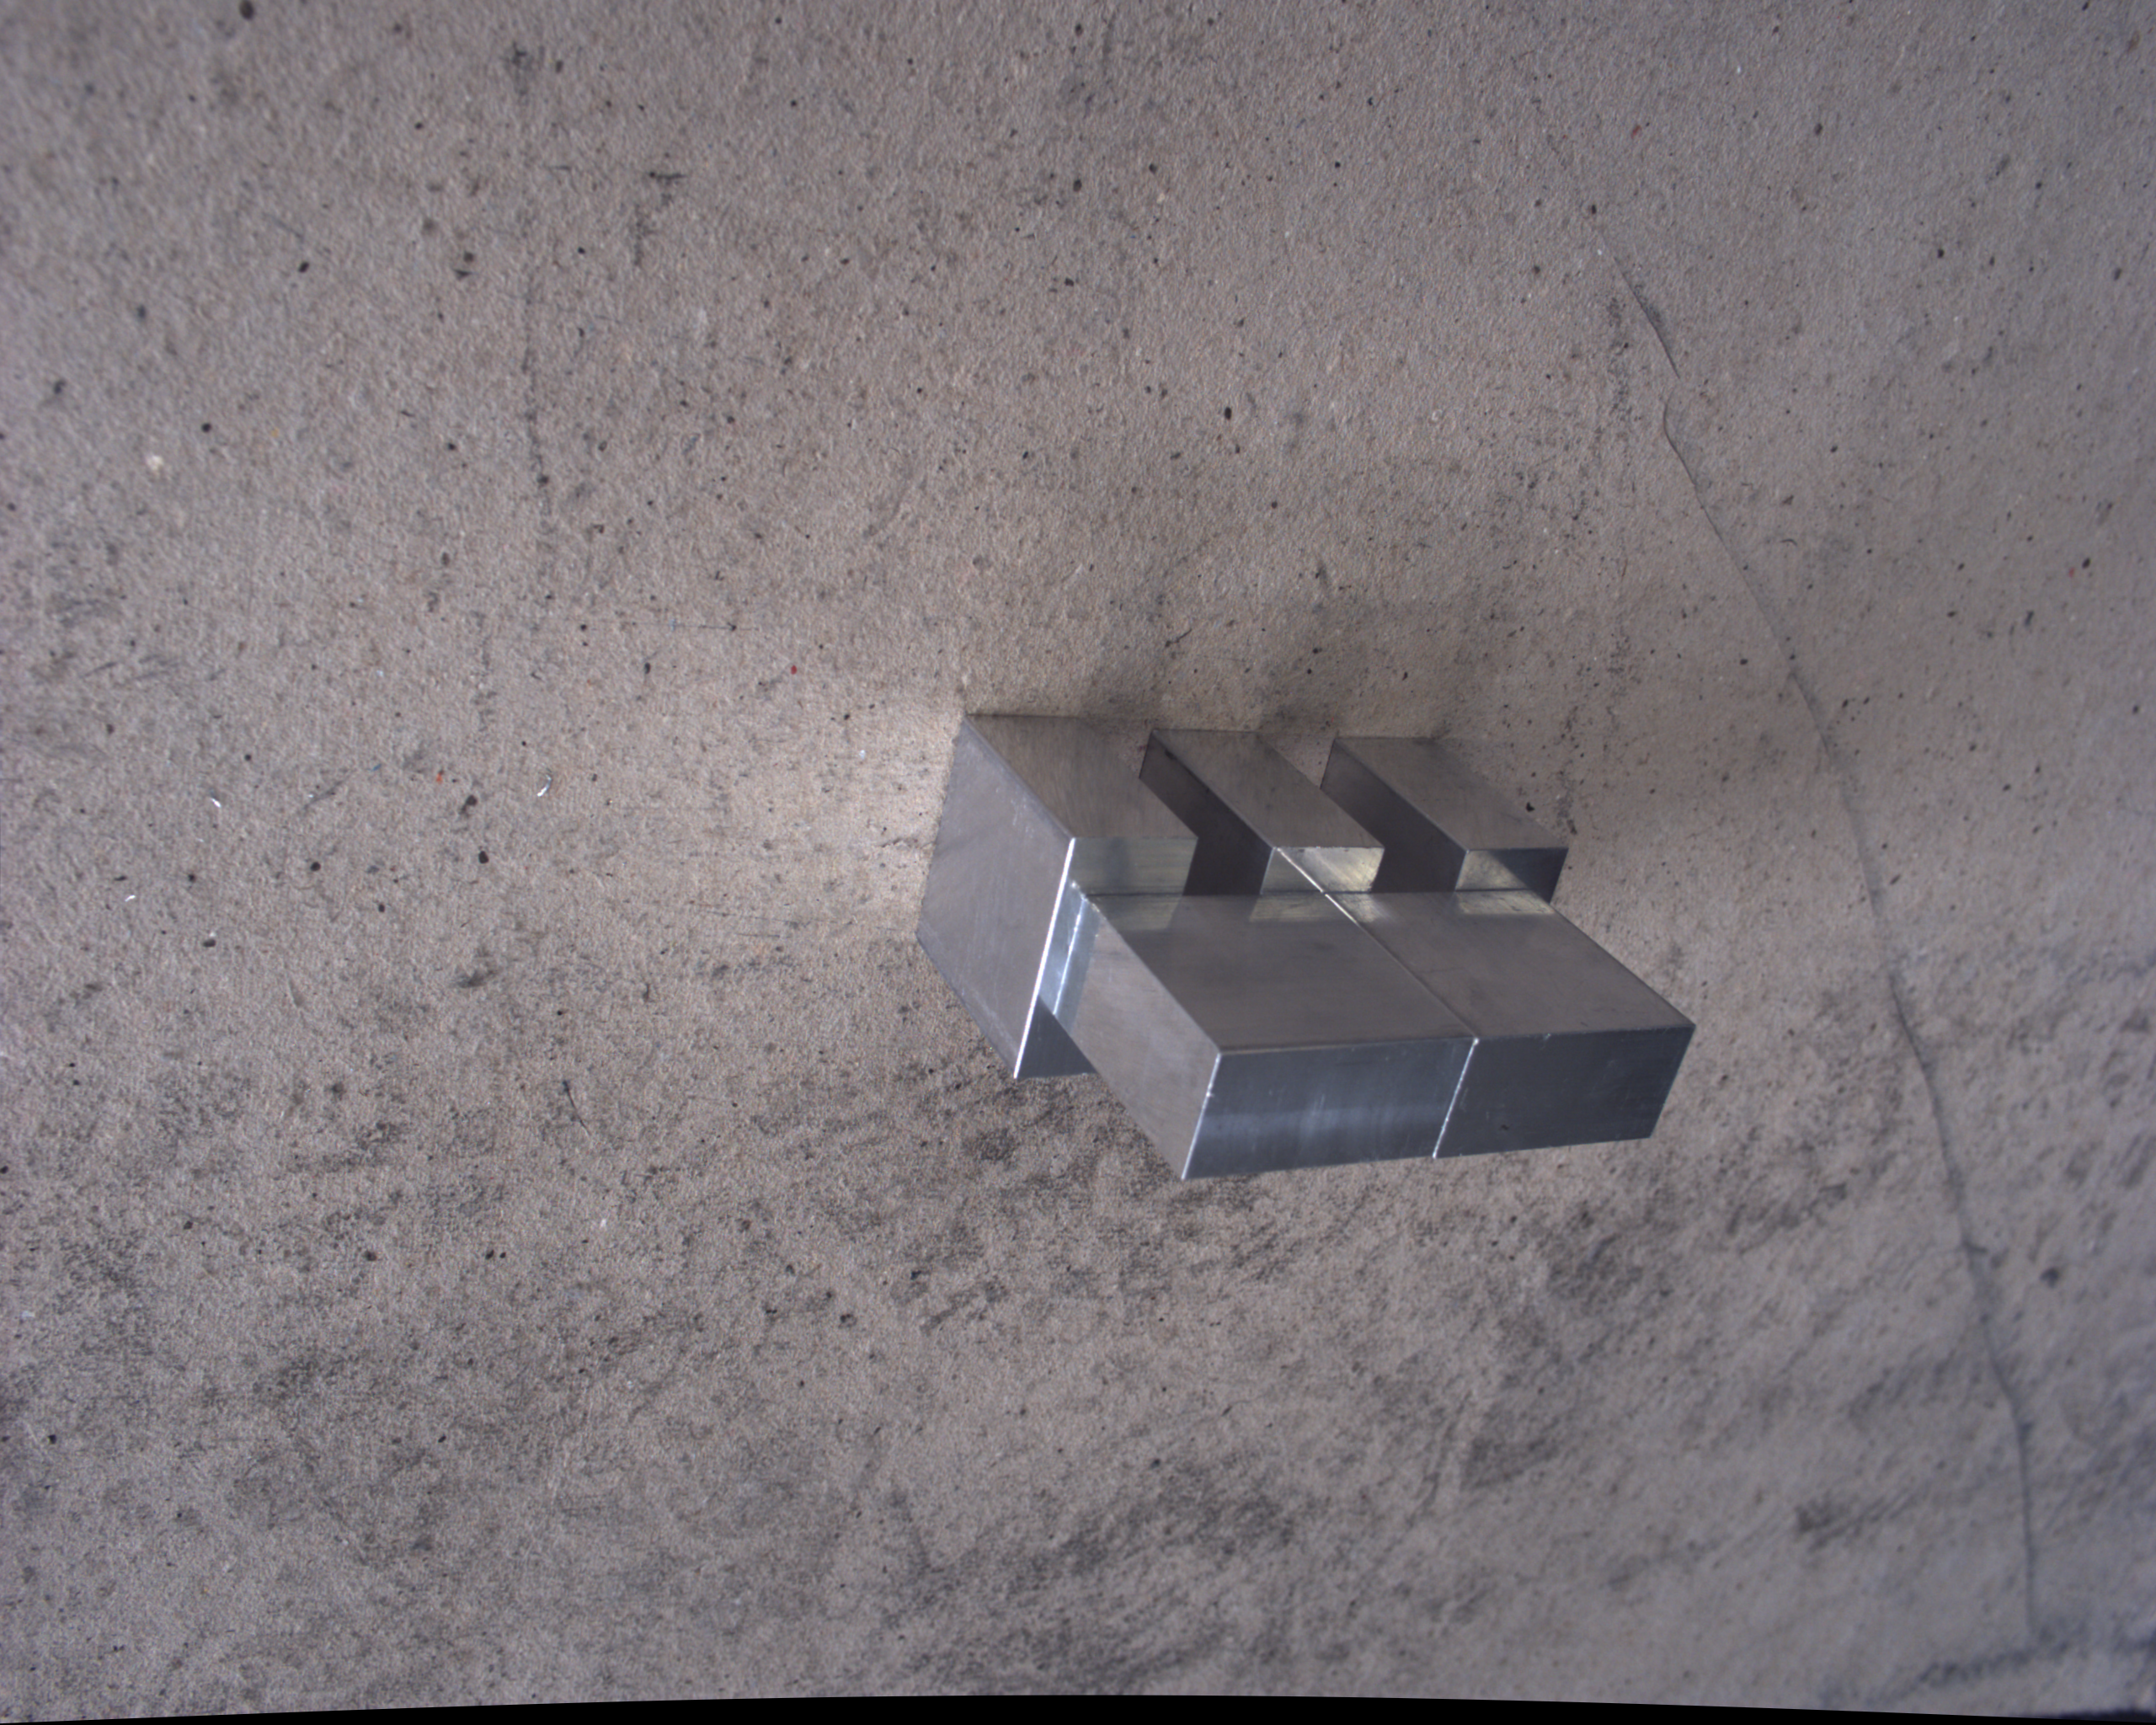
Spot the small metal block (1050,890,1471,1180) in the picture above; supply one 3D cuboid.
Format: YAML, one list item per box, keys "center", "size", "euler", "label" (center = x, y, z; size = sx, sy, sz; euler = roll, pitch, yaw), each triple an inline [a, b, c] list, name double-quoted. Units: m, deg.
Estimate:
- center: [0.030, 0.028, 0.362]
  size: [0.050, 0.050, 0.025]
  euler: [-1, 119, -28]
  label: "small metal block"

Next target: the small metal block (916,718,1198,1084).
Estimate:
- center: [-0.006, 0.006, 0.392]
  size: [0.025, 0.050, 0.050]
  euler: [0, 118, -28]
  label: "small metal block"

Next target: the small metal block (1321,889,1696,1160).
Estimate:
- center: [0.075, 0.028, 0.386]
  size: [0.050, 0.050, 0.025]
  euler: [-1, 119, -28]
  label: "small metal block"

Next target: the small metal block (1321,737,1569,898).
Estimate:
- center: [0.070, 0.007, 0.435]
  size: [0.025, 0.050, 0.050]
  euler: [-1, 119, -27]
  label: "small metal block"

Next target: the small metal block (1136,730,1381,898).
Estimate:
- center: [0.030, 0.007, 0.413]
  size: [0.025, 0.050, 0.050]
  euler: [-1, 119, -27]
  label: "small metal block"
